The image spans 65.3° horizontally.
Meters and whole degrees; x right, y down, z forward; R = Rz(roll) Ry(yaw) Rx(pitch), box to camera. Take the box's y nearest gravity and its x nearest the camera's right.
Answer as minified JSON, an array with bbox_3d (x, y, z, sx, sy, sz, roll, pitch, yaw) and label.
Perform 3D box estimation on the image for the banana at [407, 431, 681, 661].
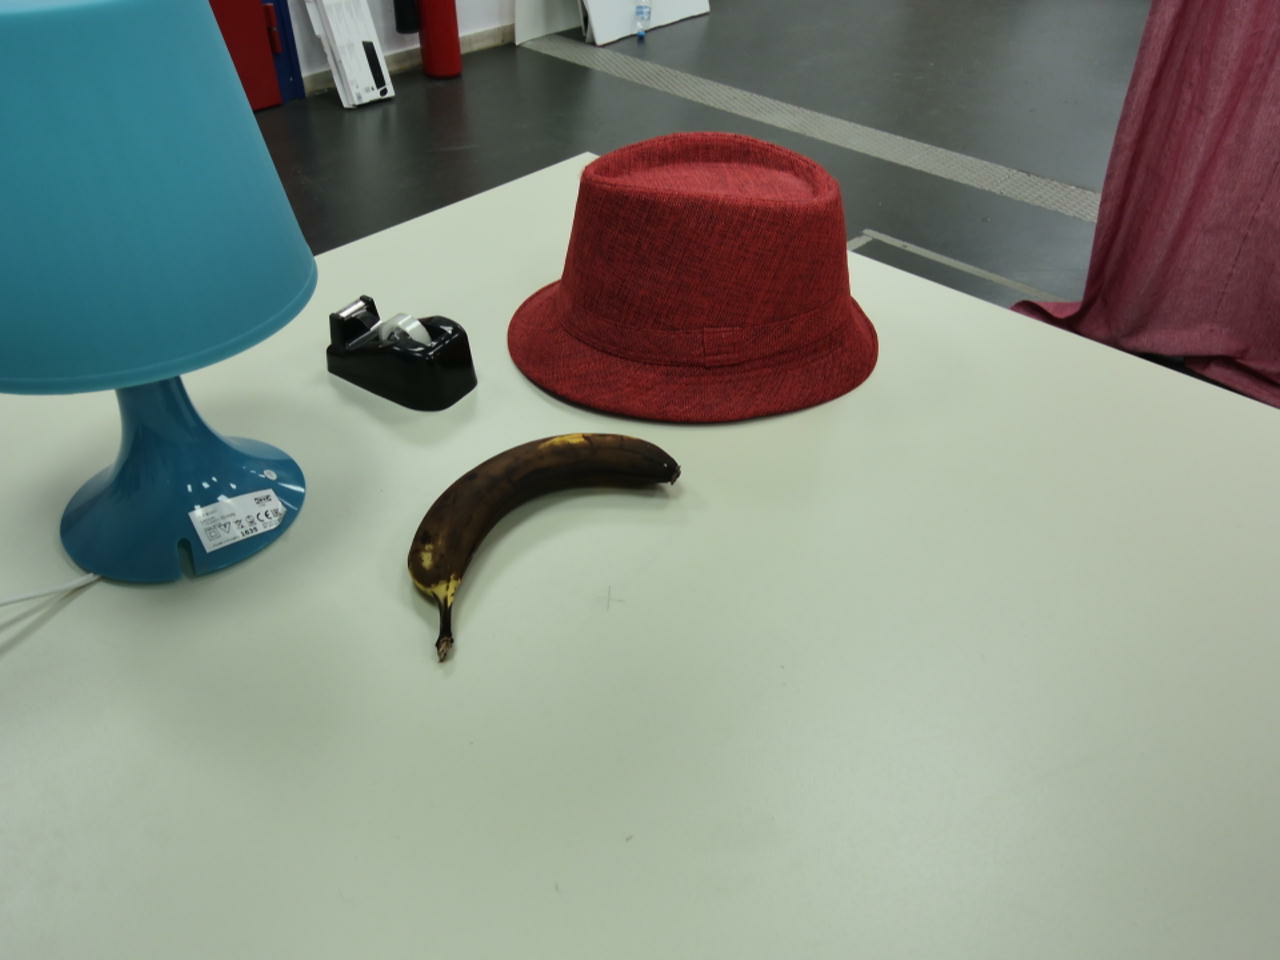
[{"bbox_3d":[-0.066,0.016,0.563,0.091,0.034,0.188,30,46,32],"label":"banana"}]
